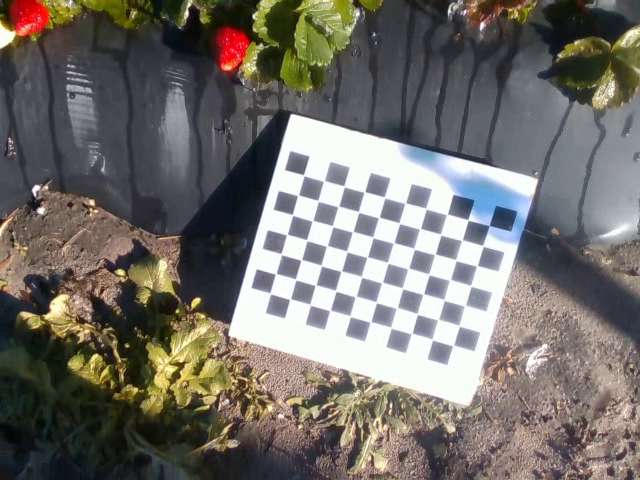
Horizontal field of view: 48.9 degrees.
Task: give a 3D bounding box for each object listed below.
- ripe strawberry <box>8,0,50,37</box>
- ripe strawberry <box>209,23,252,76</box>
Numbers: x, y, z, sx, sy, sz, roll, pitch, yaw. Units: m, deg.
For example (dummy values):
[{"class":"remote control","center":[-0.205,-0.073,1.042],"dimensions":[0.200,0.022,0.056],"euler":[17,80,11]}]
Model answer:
[{"class":"ripe strawberry","center":[-0.277,-0.208,0.657],"dimensions":[0.037,0.040,0.051],"euler":[1,42,5]},{"class":"ripe strawberry","center":[-0.084,-0.176,0.643],"dimensions":[0.042,0.053,0.047],"euler":[9,-38,4]}]
